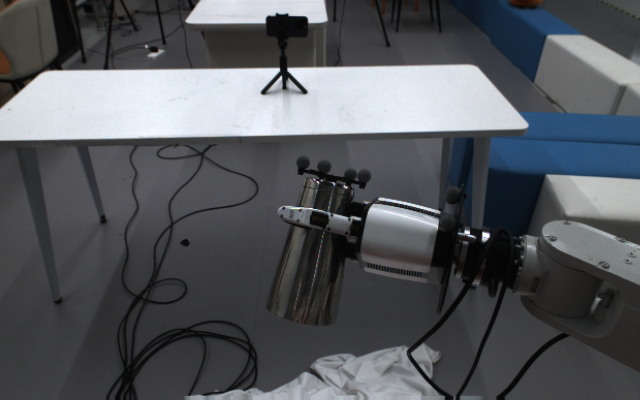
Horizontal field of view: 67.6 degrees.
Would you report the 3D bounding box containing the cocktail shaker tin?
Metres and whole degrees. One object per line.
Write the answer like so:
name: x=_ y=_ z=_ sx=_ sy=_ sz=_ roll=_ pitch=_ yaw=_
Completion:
cocktail shaker tin: x=-0.002 y=0.060 z=0.617 sx=0.093 sy=0.170 sz=0.093 roll=13 pitch=1 yaw=0
